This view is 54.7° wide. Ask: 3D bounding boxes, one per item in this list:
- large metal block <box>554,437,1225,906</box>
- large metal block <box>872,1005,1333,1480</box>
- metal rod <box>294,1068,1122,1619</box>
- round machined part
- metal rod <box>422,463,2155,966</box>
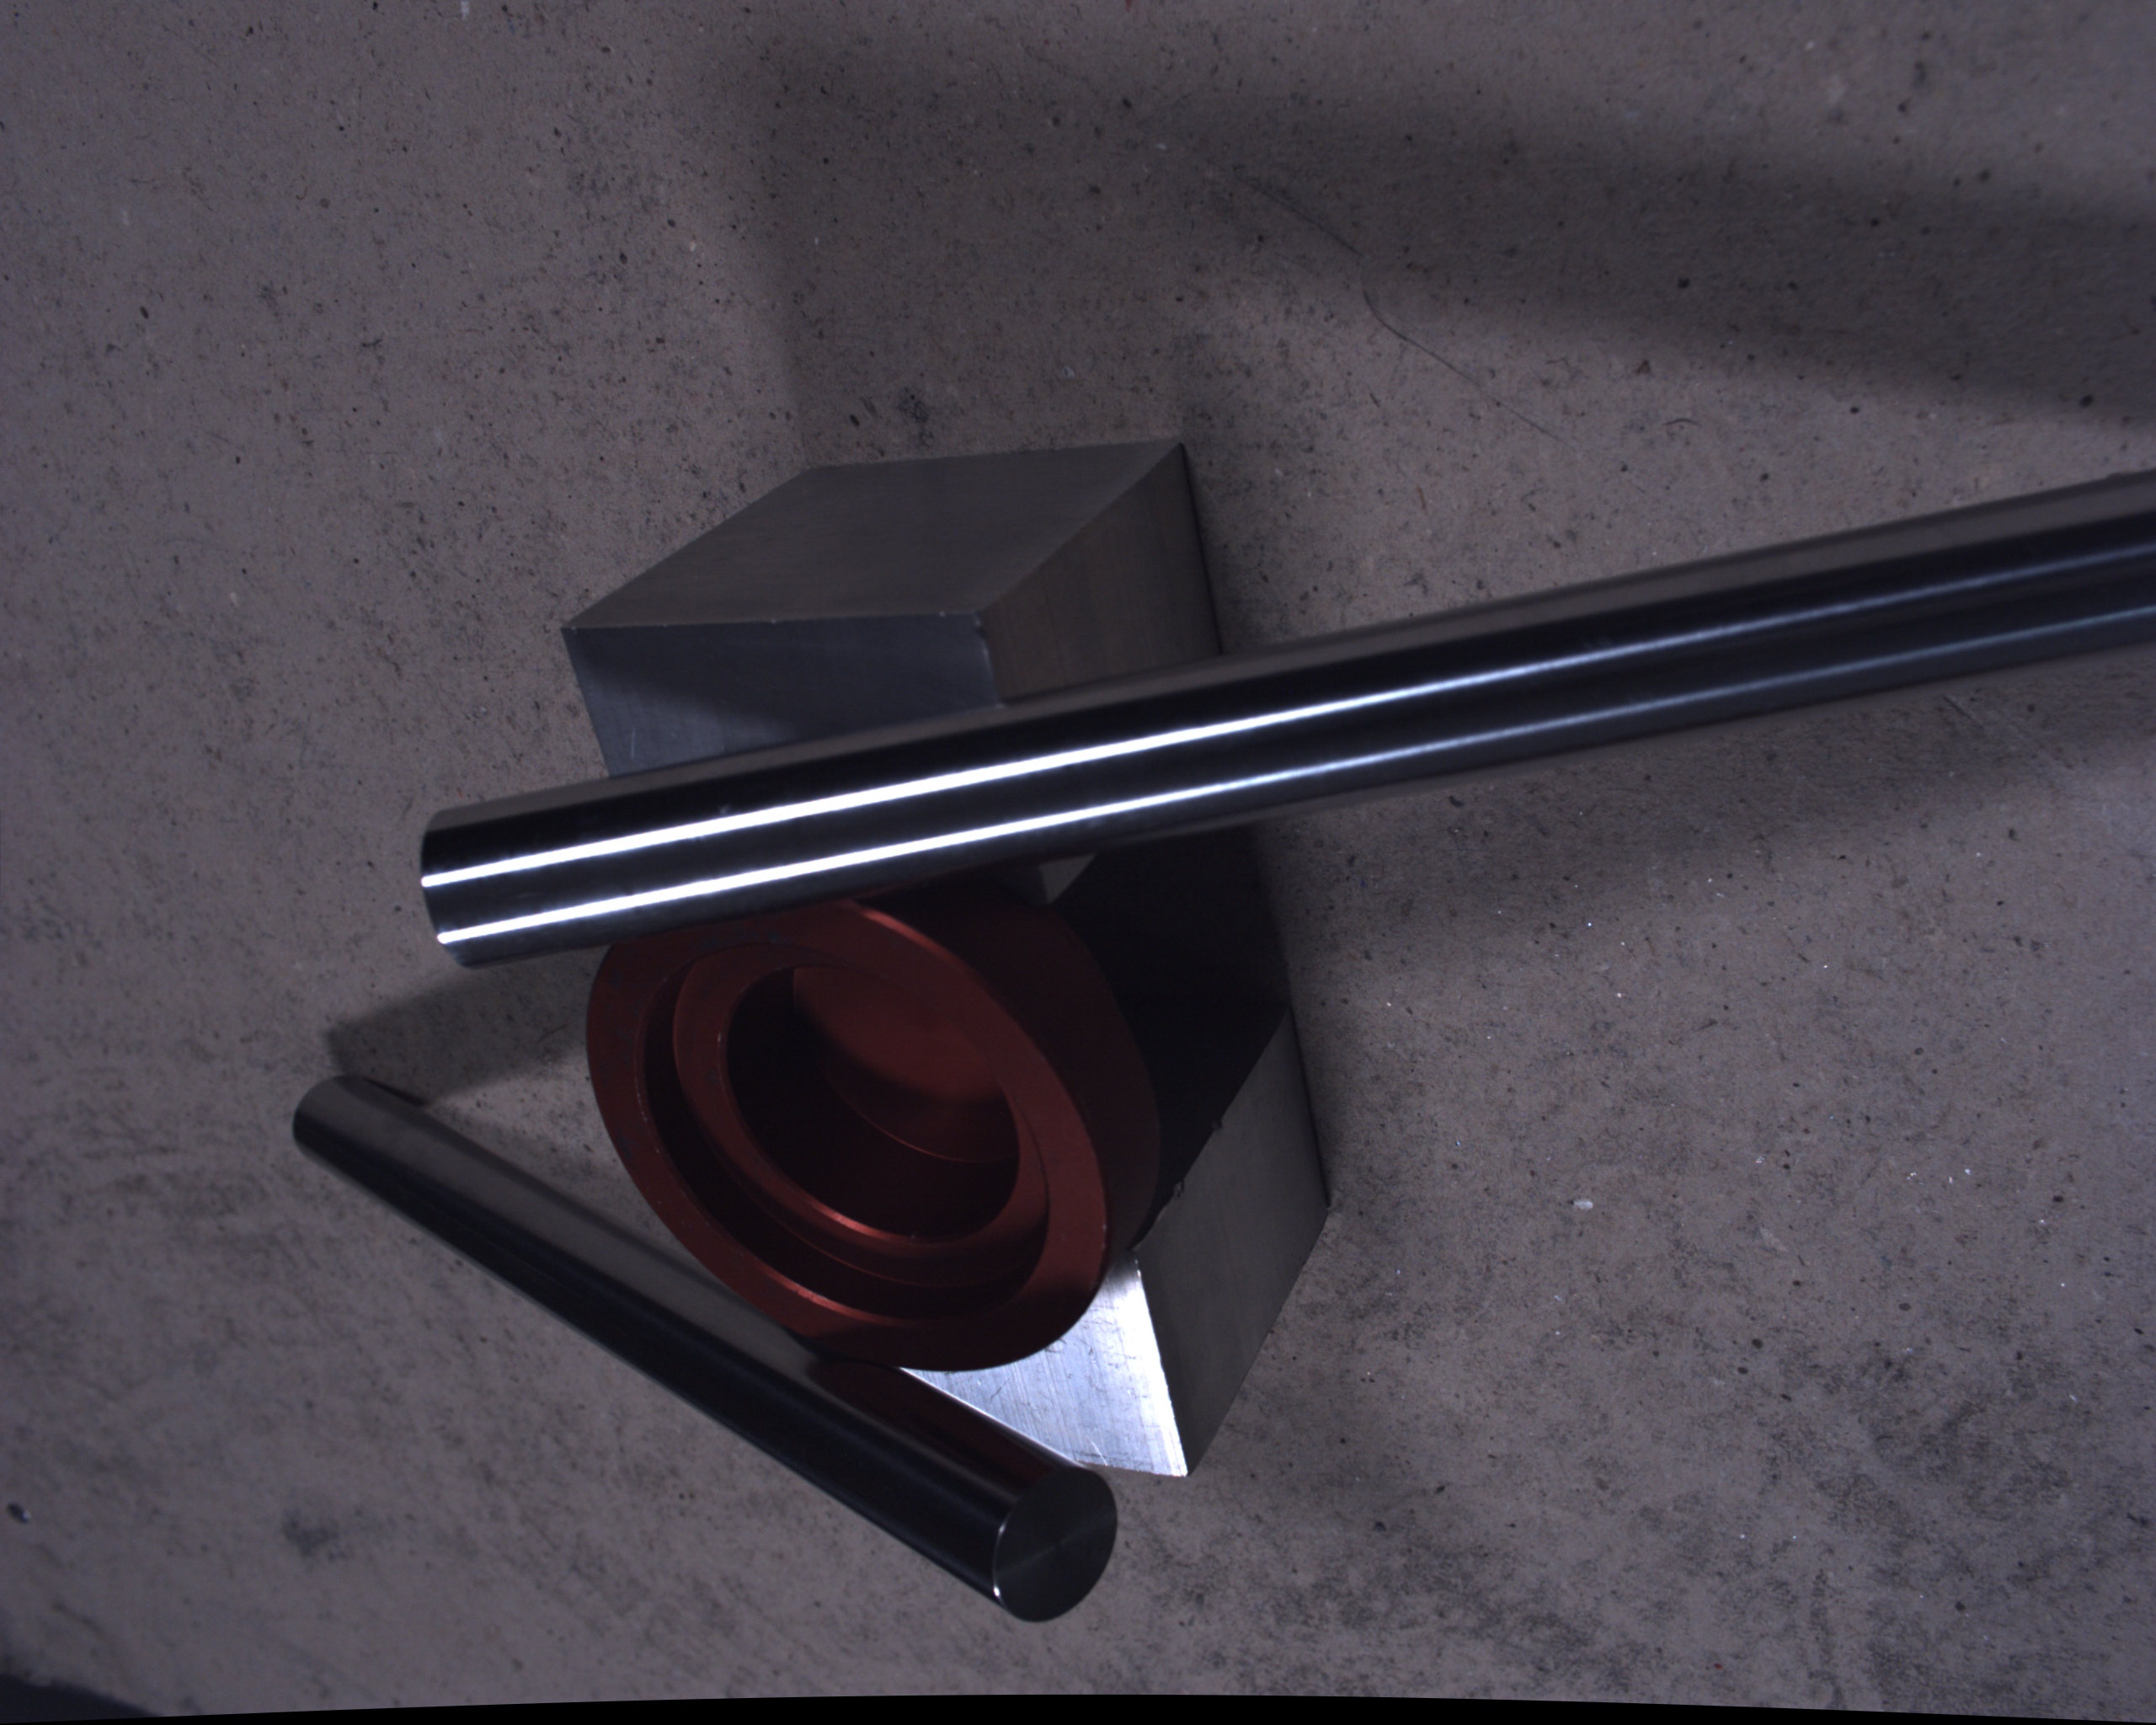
[{"bbox_3d":[-0.028,-0.035,0.365,0.080,0.080,0.050,1,119,27],"label":"large metal block"},{"bbox_3d":[-0.004,0.070,0.417,0.080,0.080,0.050,1,119,27],"label":"large metal block"},{"bbox_3d":[-0.099,0.087,0.440,0.300,0.025,0.025,12,127,49],"label":"metal rod"},{"bbox_3d":[-0.031,0.036,0.358,0.098,0.042,0.097,13,124,20],"label":"round machined part"},{"bbox_3d":[0.053,-0.024,0.295,0.301,0.025,0.025,-11,115,8],"label":"metal rod"}]
